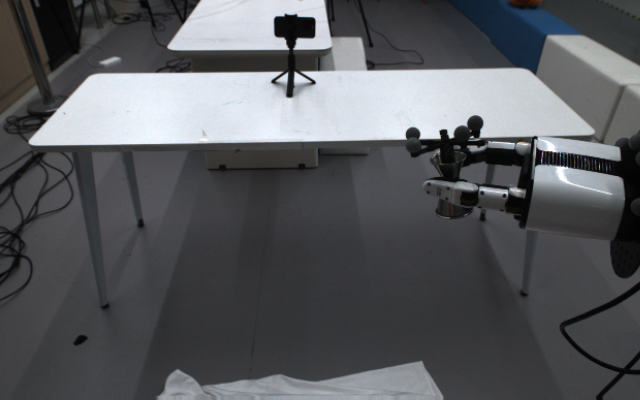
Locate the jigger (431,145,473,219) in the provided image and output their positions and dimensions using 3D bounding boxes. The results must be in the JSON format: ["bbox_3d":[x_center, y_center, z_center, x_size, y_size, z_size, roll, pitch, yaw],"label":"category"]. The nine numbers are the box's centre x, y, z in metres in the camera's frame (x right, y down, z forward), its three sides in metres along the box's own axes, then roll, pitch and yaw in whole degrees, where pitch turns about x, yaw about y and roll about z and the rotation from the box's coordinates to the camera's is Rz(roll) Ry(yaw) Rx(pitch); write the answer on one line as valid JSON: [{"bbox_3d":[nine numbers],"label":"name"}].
[{"bbox_3d":[0.152,-0.018,0.561,0.043,0.071,0.043,-11,24,5],"label":"jigger"}]
